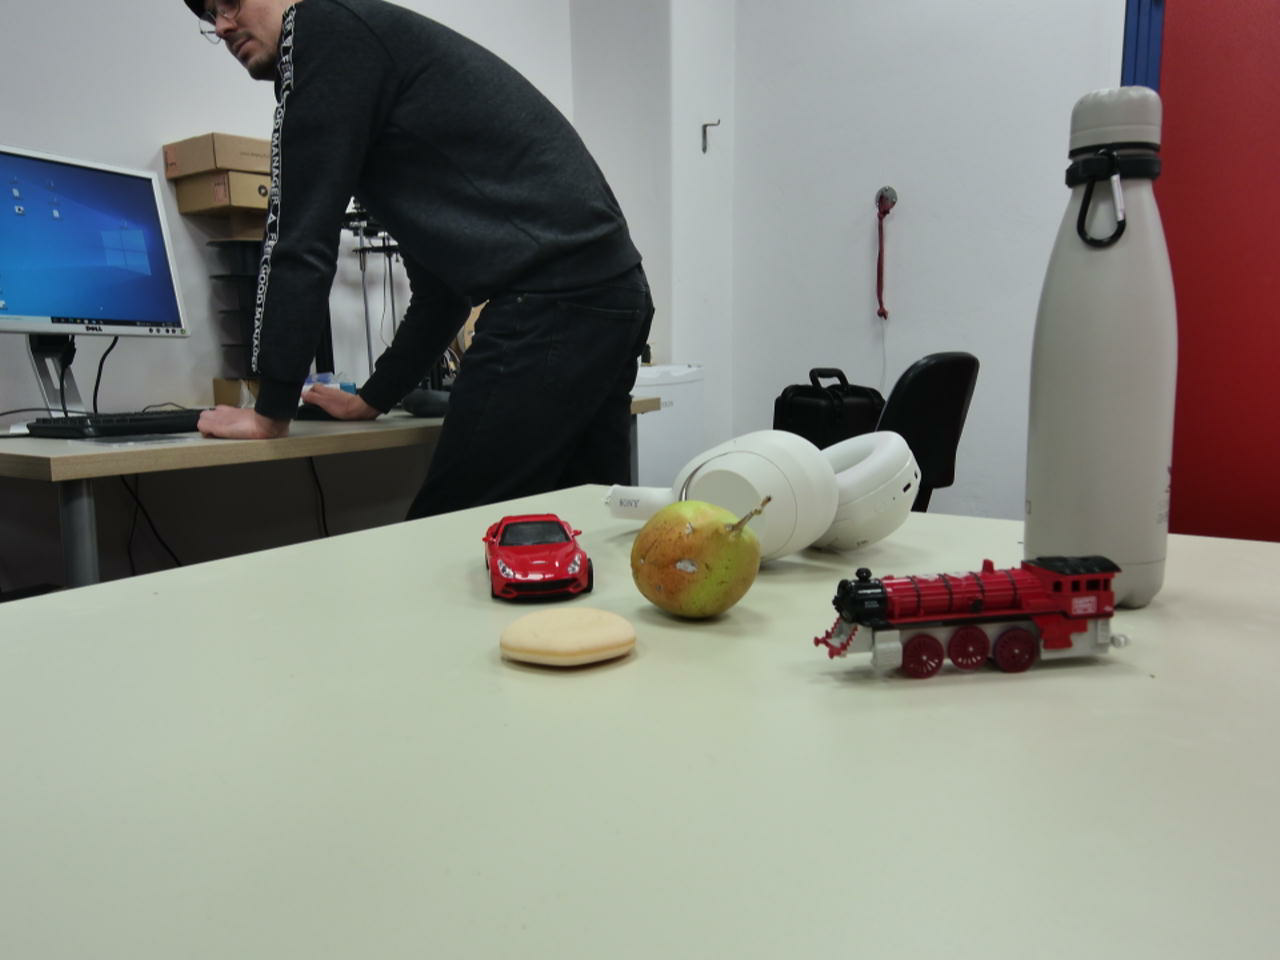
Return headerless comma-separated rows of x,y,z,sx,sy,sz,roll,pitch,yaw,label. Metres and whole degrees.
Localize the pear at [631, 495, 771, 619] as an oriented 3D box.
0.029,0.039,0.538,0.068,0.069,0.070,1,6,-3,pear
